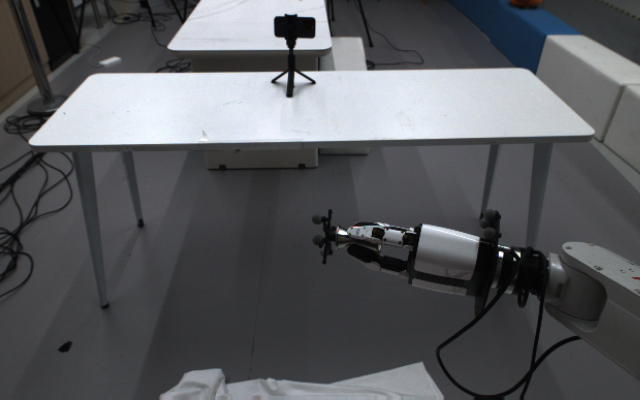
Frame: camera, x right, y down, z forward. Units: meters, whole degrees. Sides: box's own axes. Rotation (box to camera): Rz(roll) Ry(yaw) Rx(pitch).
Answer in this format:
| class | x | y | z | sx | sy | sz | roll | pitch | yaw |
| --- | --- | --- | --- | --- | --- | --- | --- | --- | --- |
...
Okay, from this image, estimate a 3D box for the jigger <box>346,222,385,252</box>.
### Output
| class | x | y | z | sx | sy | sz | roll | pitch | yaw |
| --- | --- | --- | --- | --- | --- | --- | --- | --- | --- |
| jigger | 0.068 | 0.057 | 0.761 | 0.071 | 0.043 | 0.043 | 3 | 34 | 14 |
